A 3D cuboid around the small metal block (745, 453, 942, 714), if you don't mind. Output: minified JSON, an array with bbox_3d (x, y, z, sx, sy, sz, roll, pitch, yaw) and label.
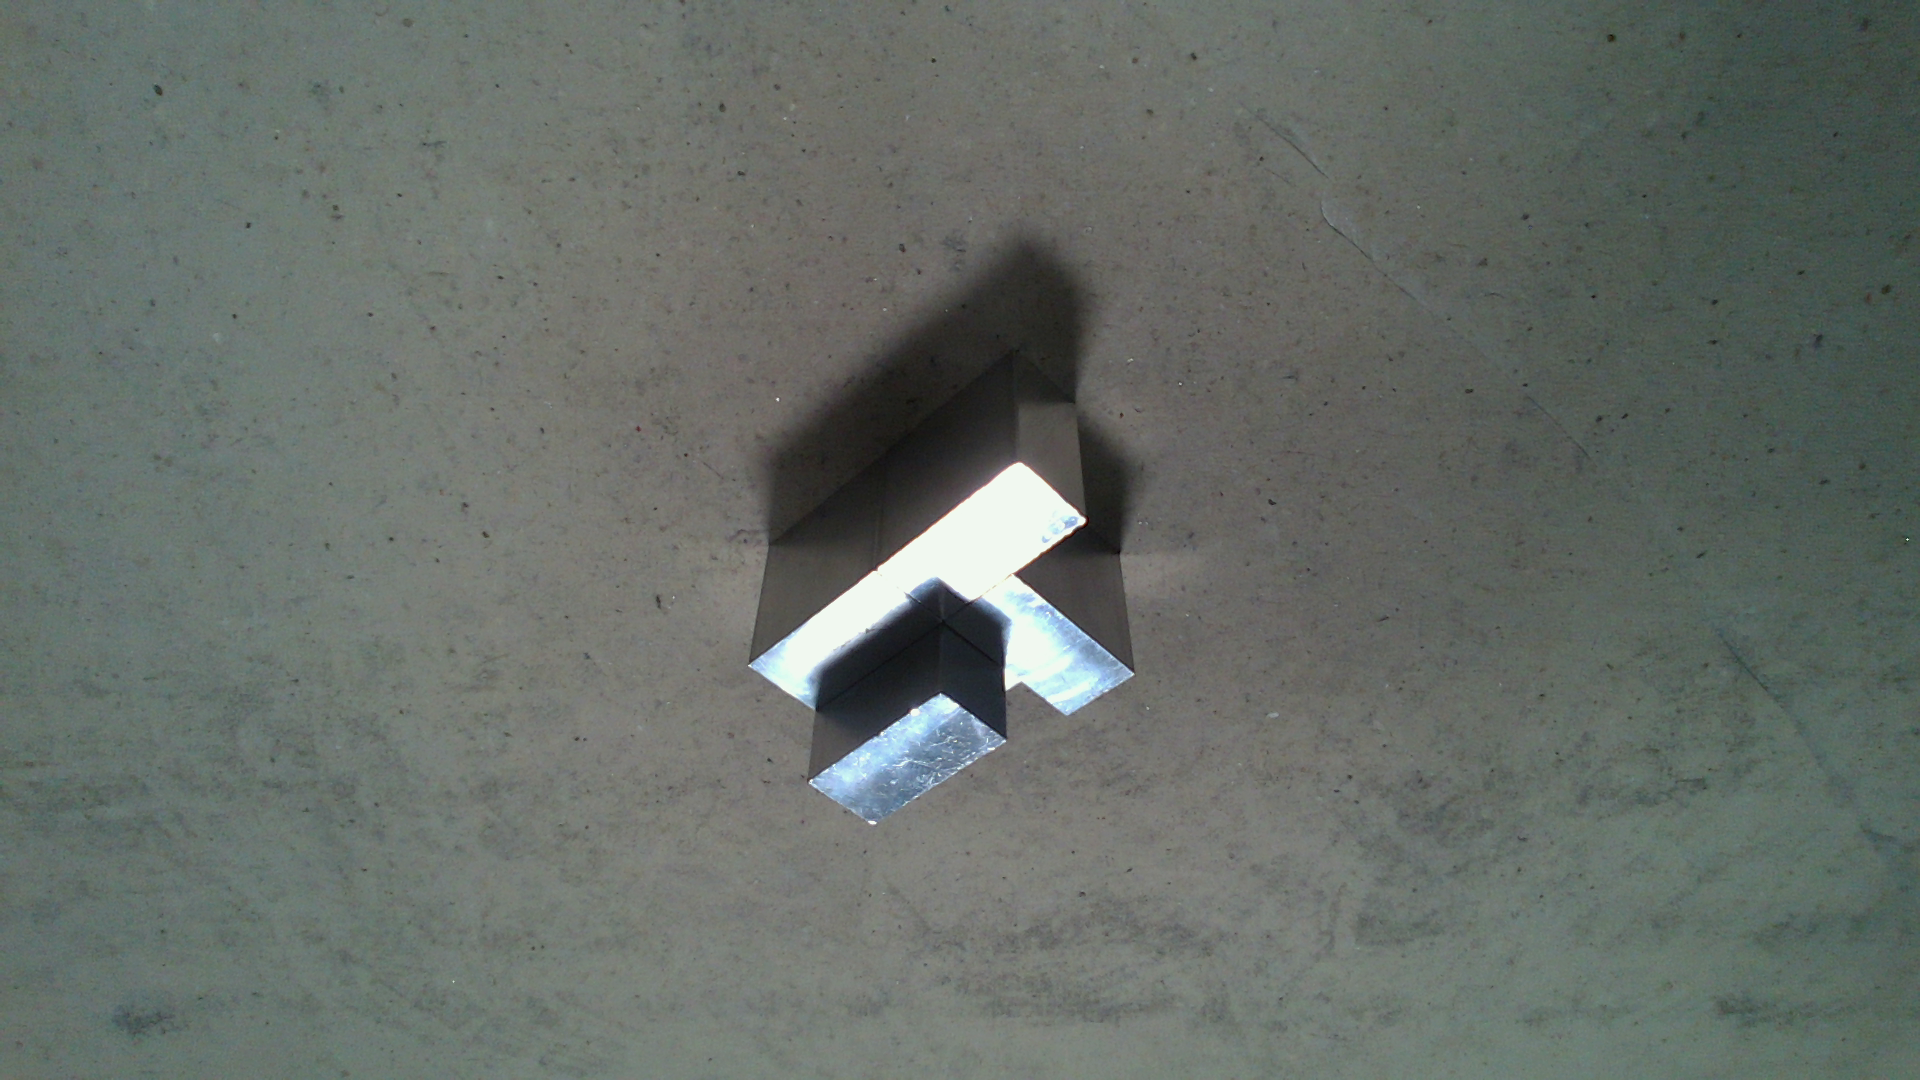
[{"bbox_3d":[-0.031,0.012,0.384,0.050,0.050,0.025,-36,121,27],"label":"small metal block"}]

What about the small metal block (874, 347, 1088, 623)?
[{"bbox_3d":[0.005,-0.015,0.362,0.050,0.050,0.025,-36,121,27],"label":"small metal block"}]

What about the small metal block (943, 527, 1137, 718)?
[{"bbox_3d":[0.022,0.013,0.385,0.025,0.050,0.050,-36,122,26],"label":"small metal block"}]

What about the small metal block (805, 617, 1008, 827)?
[{"bbox_3d":[-0.014,0.042,0.377,0.050,0.050,0.025,-36,121,27],"label":"small metal block"}]

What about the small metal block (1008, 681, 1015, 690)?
[{"bbox_3d":[-0.005,0.025,0.412,0.050,0.025,0.050,-35,122,26],"label":"small metal block"}]
